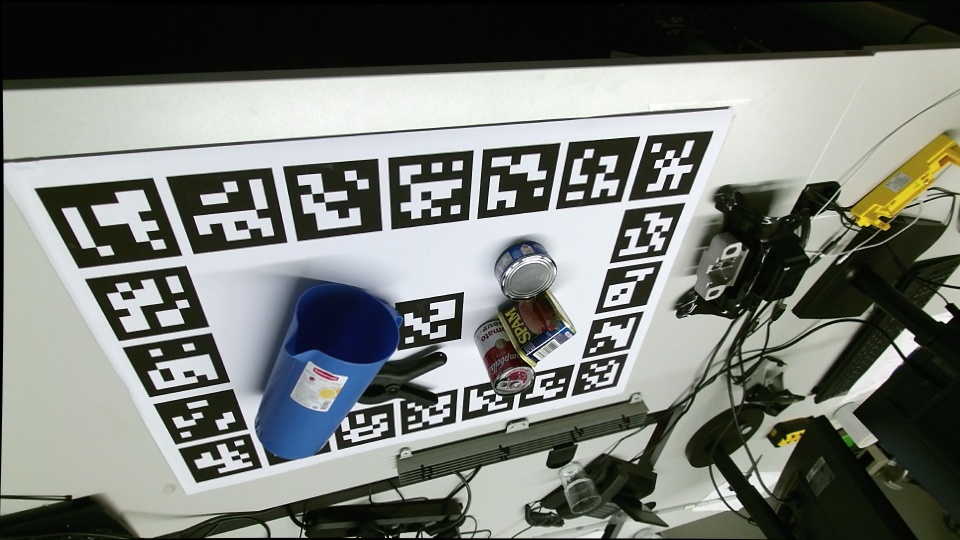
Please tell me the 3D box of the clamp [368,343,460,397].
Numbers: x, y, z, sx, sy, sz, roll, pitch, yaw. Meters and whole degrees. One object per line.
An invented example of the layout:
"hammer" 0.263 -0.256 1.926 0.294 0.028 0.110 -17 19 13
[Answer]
"clamp" -0.117 0.171 0.864 0.166 0.036 0.122 -5 133 -15

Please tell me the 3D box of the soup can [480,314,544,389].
"soup can" 0.048 0.126 0.842 0.068 0.101 0.068 -13 129 -16

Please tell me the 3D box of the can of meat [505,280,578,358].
"can of meat" 0.098 0.068 0.809 0.084 0.101 0.058 -39 131 5

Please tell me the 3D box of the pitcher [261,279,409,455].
"pitcher" -0.199 0.137 0.720 0.189 0.133 0.242 -8 141 -46

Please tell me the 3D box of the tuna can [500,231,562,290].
"tuna can" 0.074 -0.014 0.781 0.086 0.033 0.086 -11 129 -14
